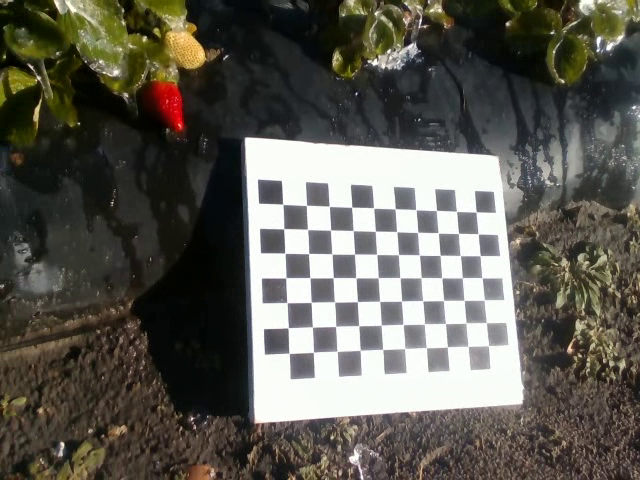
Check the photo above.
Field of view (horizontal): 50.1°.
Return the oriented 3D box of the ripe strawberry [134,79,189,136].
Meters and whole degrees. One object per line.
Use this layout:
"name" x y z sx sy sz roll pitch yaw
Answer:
"ripe strawberry" -0.135 -0.129 0.639 0.041 0.052 0.040 -17 -13 -24
